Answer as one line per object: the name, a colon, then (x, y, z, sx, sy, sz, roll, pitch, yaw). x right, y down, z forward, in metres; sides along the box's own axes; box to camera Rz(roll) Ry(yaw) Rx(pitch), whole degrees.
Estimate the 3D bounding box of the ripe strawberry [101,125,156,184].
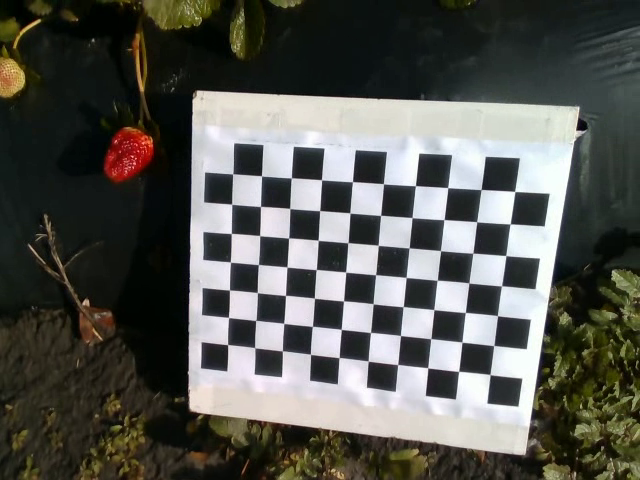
ripe strawberry: (-0.057, -0.025, 0.178, 0.015, 0.023, 0.015, 13, -39, 7)
